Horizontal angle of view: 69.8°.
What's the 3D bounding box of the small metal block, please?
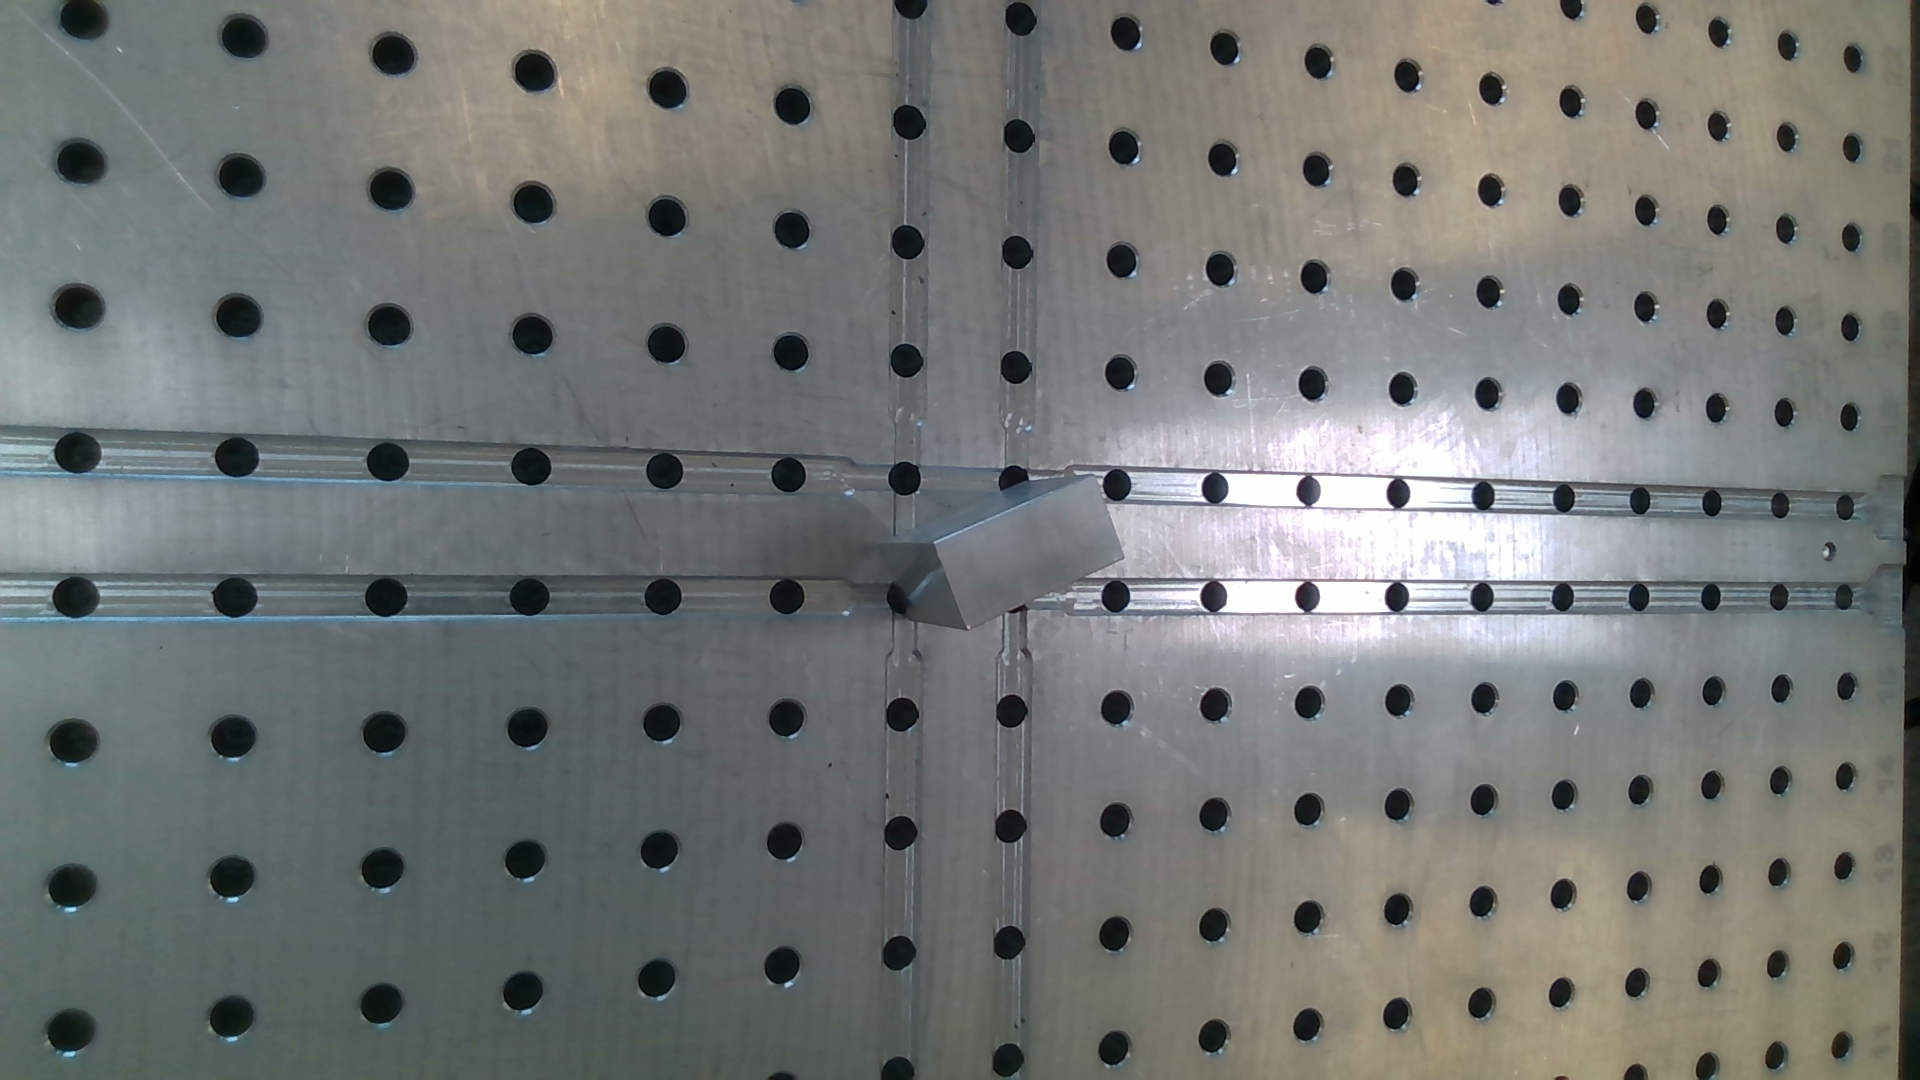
[{"bbox_3d":[0.010,0.003,0.387,0.050,0.050,0.025,-24,98,-18],"label":"small metal block"}]
